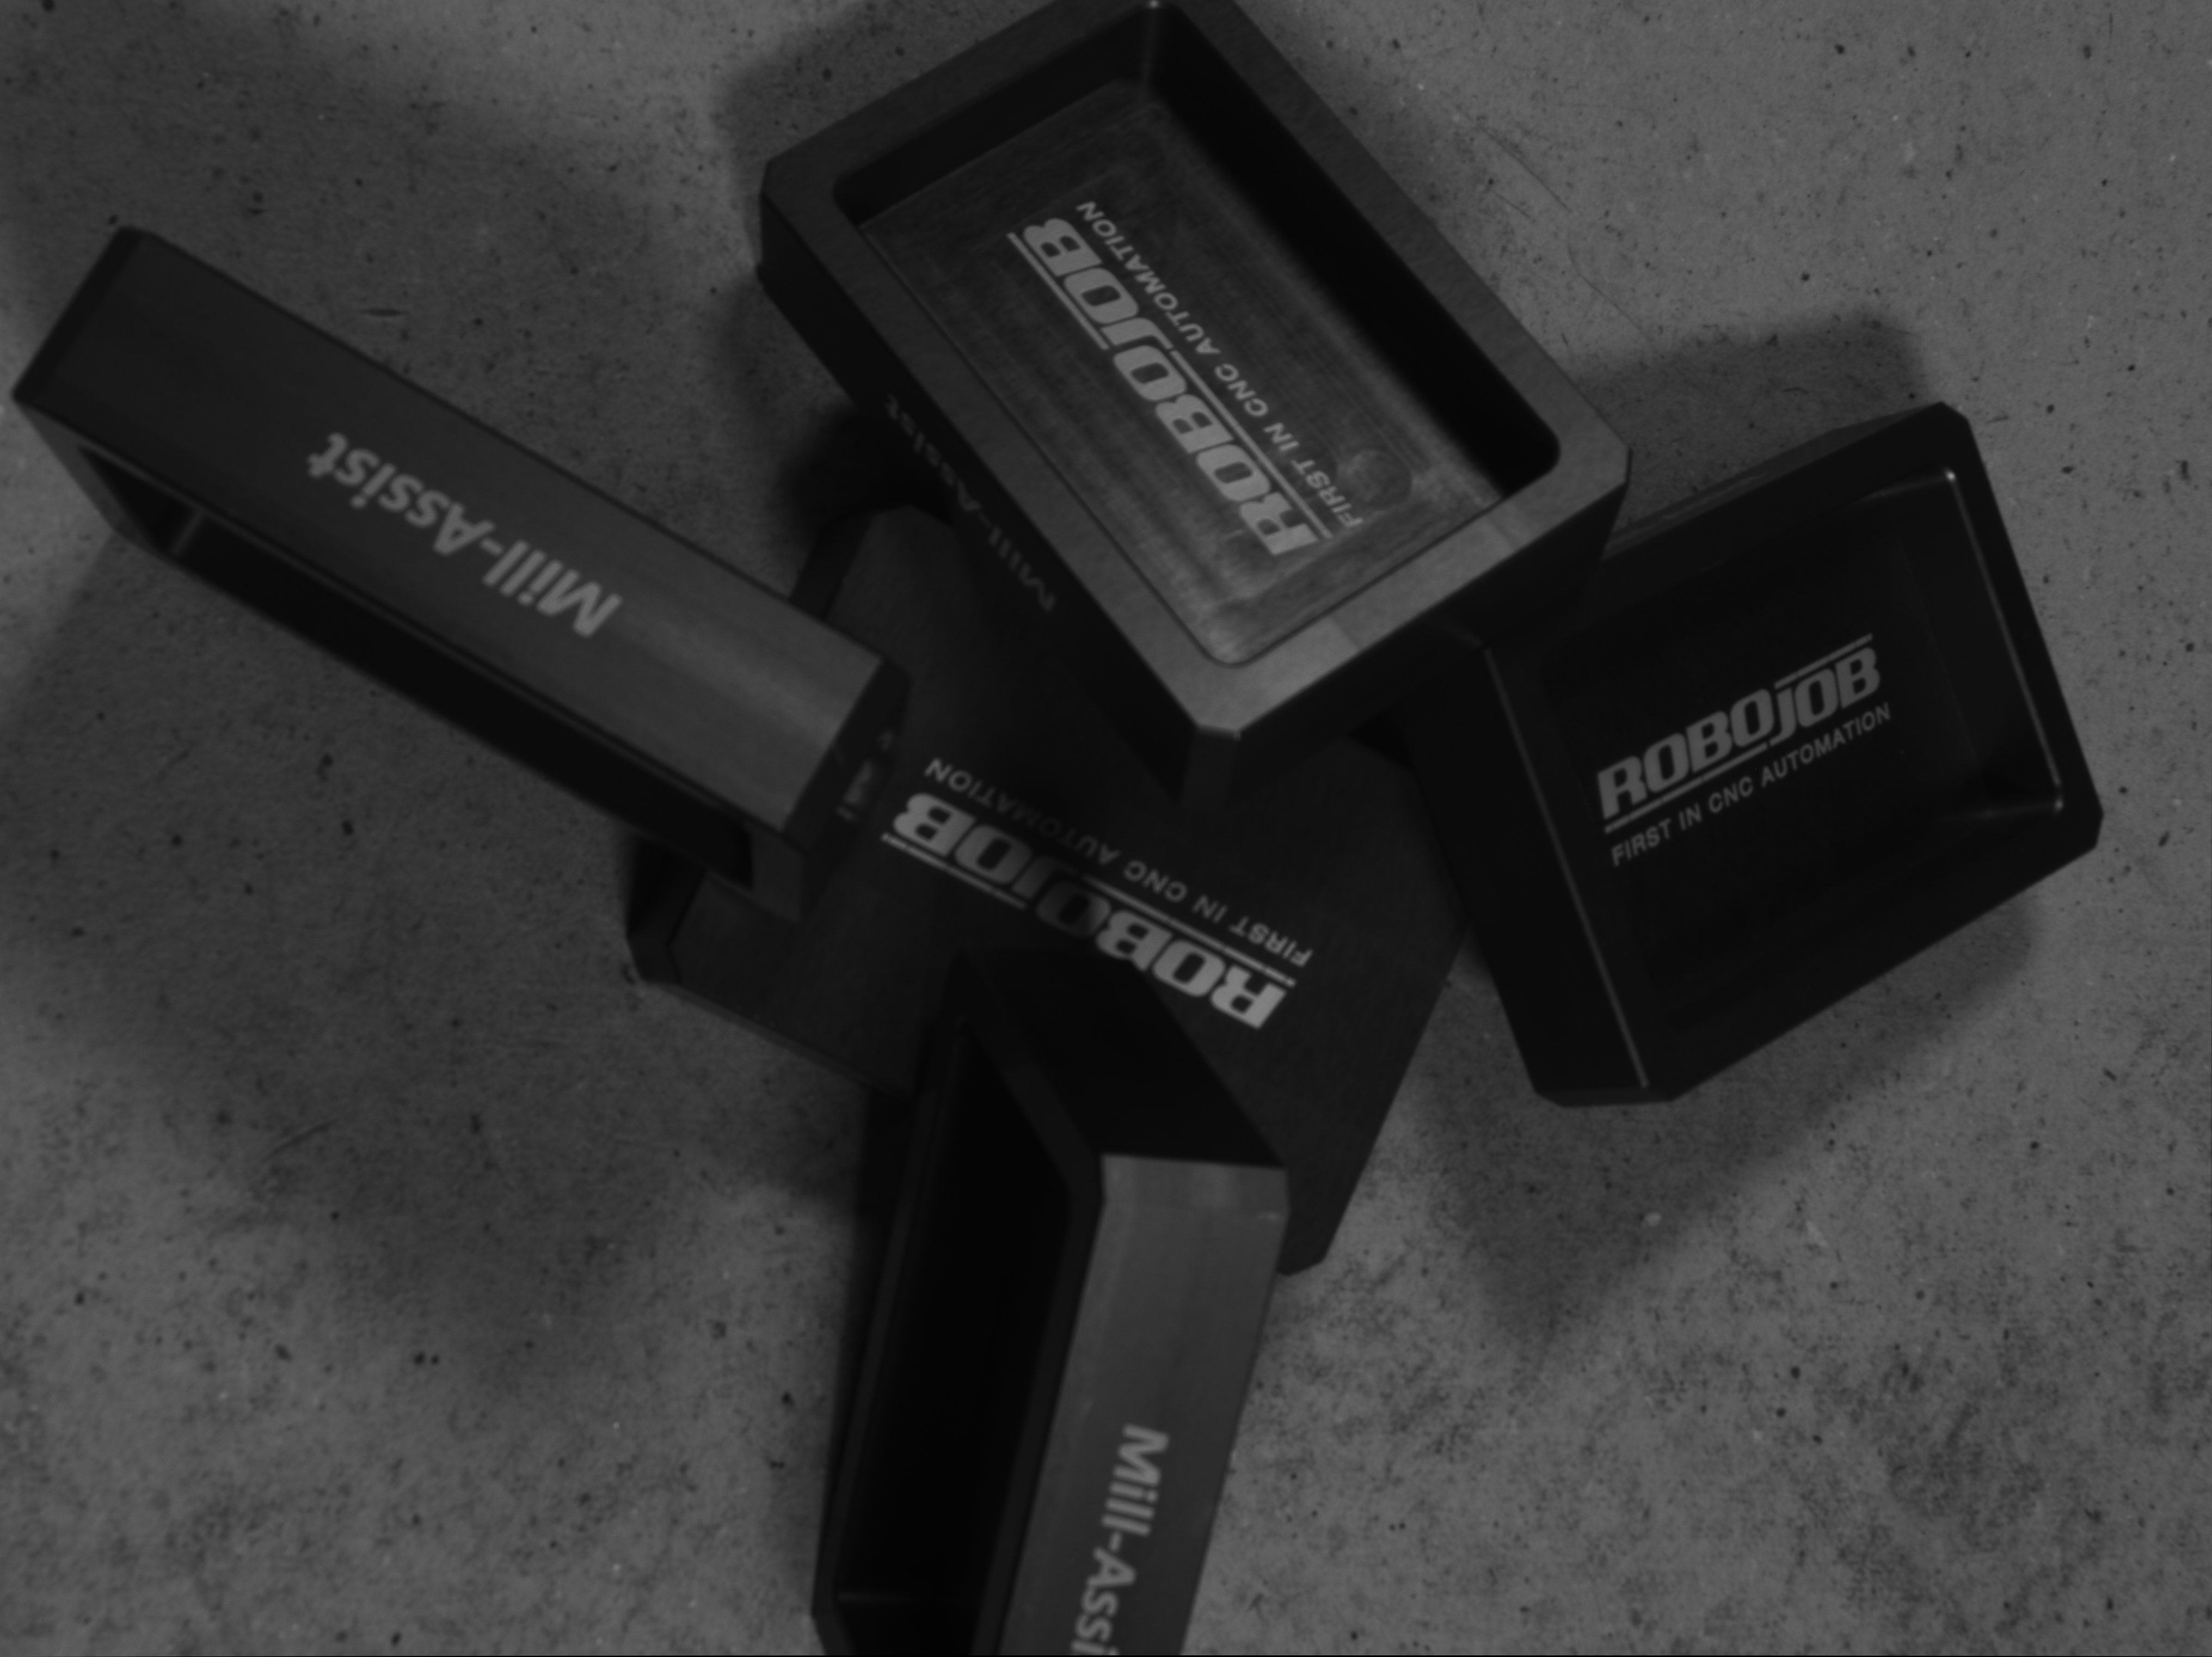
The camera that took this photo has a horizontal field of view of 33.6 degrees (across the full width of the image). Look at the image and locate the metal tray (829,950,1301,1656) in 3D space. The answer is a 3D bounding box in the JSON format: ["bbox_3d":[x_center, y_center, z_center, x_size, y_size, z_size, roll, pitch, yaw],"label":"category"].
[{"bbox_3d":[-0.010,0.096,0.585,0.030,0.090,0.130,6,108,-19],"label":"metal tray"}]

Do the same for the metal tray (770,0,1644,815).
[{"bbox_3d":[0.015,-0.077,0.615,0.090,0.030,0.130,-33,72,-17],"label":"metal tray"}]

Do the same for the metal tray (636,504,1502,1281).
[{"bbox_3d":[-0.004,0.012,0.639,0.130,0.030,0.090,27,81,-18],"label":"metal tray"}]

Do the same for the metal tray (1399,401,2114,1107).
[{"bbox_3d":[0.120,-0.015,0.667,0.130,0.030,0.090,-25,98,-33],"label":"metal tray"}]

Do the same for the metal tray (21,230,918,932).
[{"bbox_3d":[-0.094,-0.034,0.559,0.130,0.090,0.030,30,80,0],"label":"metal tray"}]
